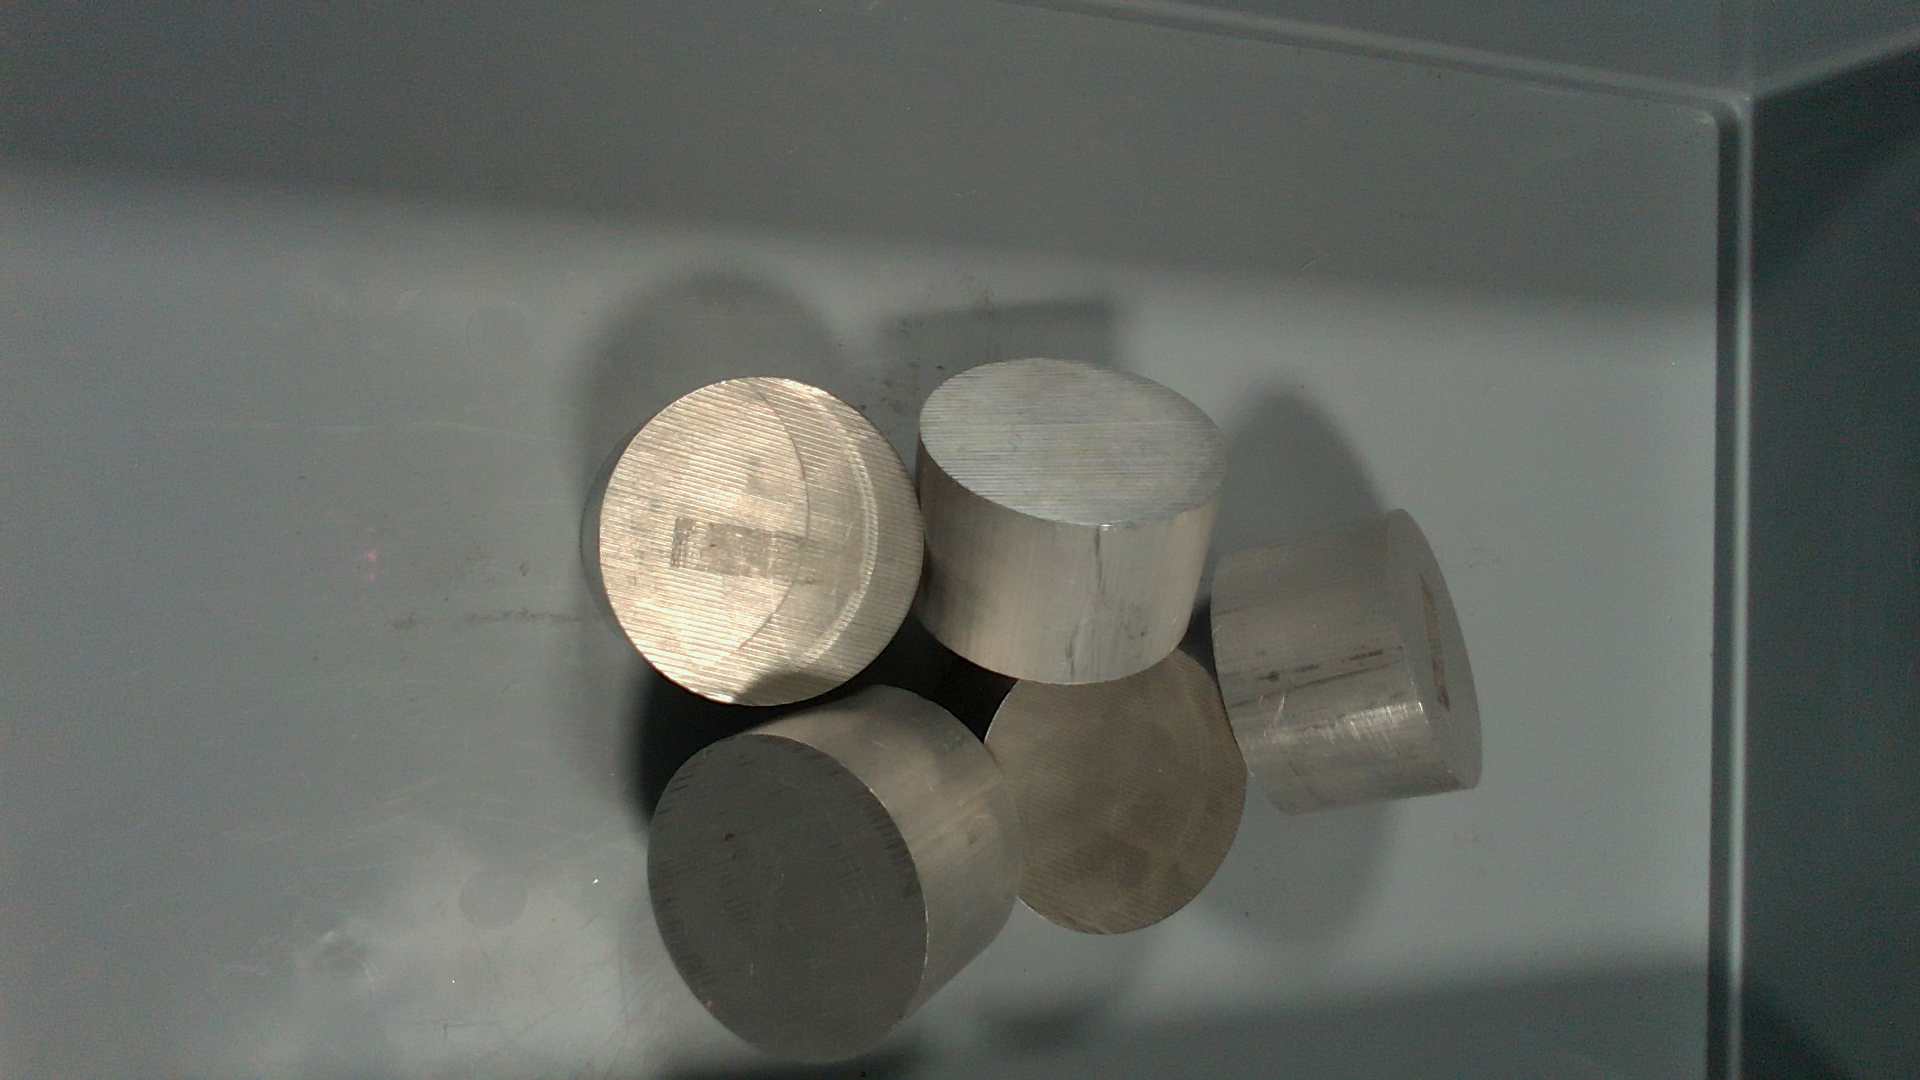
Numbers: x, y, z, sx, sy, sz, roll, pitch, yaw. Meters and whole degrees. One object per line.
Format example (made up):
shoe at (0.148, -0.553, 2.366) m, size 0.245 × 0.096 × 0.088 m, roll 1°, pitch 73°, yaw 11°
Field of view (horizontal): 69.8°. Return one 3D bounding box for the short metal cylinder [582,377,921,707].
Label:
short metal cylinder at (-0.056, 0.000, 0.358) m, size 0.080 × 0.050 × 0.080 m, roll 0°, pitch 90°, yaw -20°

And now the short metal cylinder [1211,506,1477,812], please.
short metal cylinder at (0.113, 0.035, 0.398) m, size 0.080 × 0.050 × 0.080 m, roll 35°, pitch 47°, yaw -49°

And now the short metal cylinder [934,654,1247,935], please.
short metal cylinder at (0.033, 0.065, 0.391) m, size 0.080 × 0.050 × 0.080 m, roll 0°, pitch 90°, yaw -20°

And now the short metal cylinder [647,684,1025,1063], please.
short metal cylinder at (-0.031, 0.081, 0.345) m, size 0.050 × 0.080 × 0.080 m, roll -18°, pitch 98°, yaw -61°

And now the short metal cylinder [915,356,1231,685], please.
short metal cylinder at (0.027, -0.007, 0.365) m, size 0.080 × 0.080 × 0.050 m, roll -9°, pitch 129°, yaw -20°
